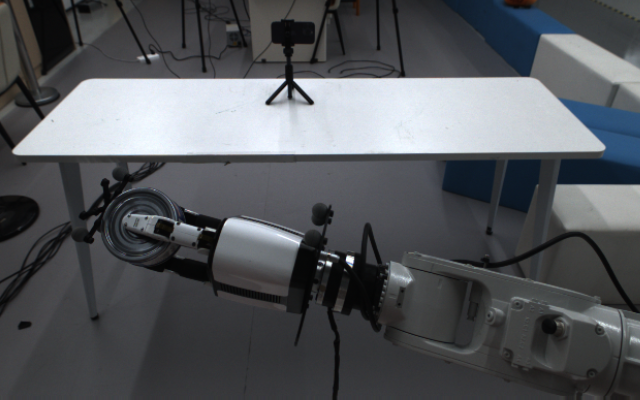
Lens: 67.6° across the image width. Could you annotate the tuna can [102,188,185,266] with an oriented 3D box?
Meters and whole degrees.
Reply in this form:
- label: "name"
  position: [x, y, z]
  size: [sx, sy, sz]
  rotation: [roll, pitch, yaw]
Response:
- label: "tuna can"
  position: [-0.194, 0.029, 0.540]
  size: [0.085, 0.034, 0.085]
  rotation: [0, 75, -1]
